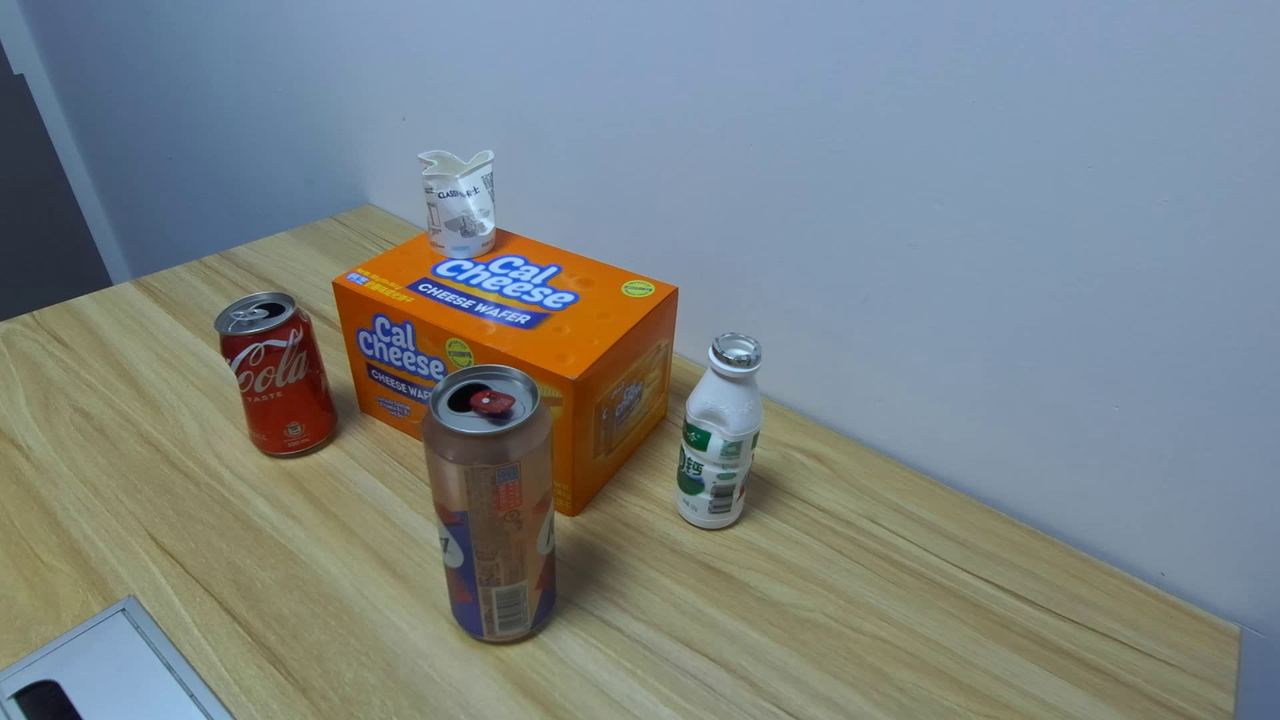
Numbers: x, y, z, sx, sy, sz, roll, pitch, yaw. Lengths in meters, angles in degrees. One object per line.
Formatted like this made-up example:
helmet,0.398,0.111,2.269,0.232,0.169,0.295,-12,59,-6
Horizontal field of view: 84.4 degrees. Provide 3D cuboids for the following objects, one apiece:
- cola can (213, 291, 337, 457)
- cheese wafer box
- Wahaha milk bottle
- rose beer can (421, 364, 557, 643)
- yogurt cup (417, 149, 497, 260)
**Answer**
cola can,-0.271,0.013,0.532,0.065,0.117,0.072,-1,35,-8
cheese wafer box,-0.102,-0.006,0.566,0.221,0.129,0.148,21,39,22
Wahaha milk bottle,0.055,0.054,0.485,0.053,0.137,0.053,3,37,-2
rose beer can,-0.082,0.088,0.405,0.068,0.169,0.068,2,35,-1
yogurt cup,-0.143,-0.126,0.560,0.055,0.072,0.055,-5,39,-14
